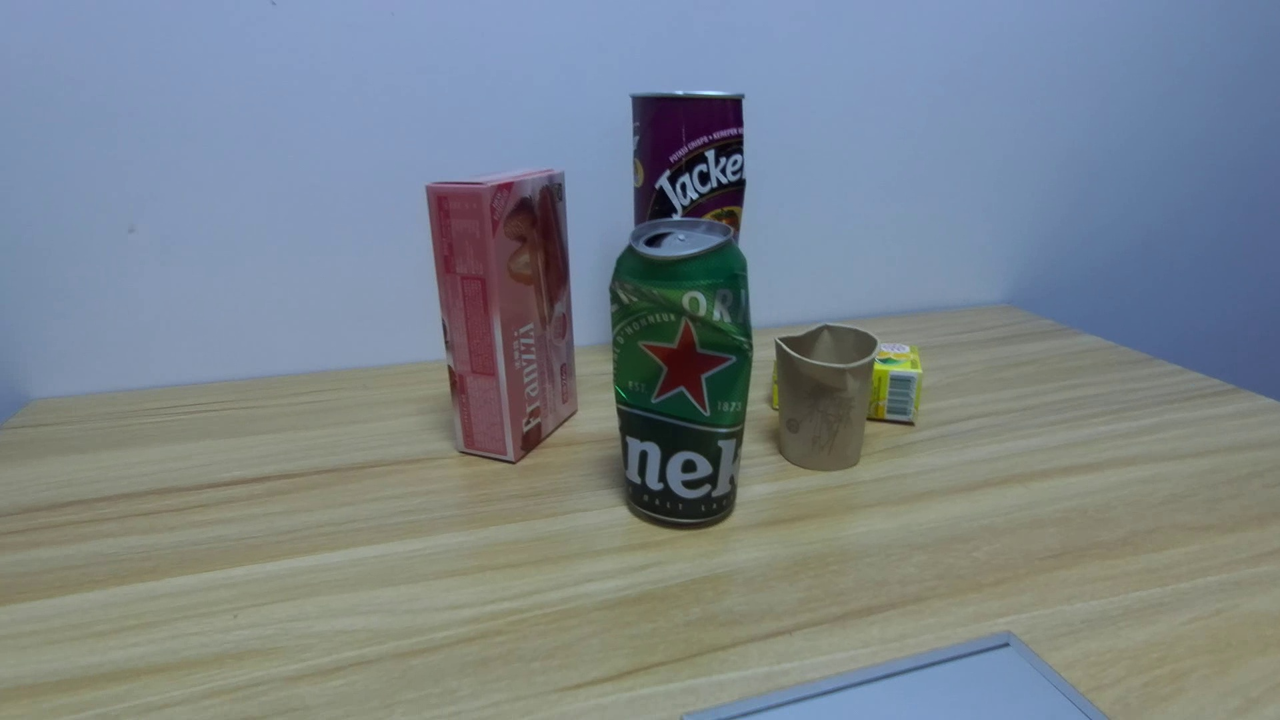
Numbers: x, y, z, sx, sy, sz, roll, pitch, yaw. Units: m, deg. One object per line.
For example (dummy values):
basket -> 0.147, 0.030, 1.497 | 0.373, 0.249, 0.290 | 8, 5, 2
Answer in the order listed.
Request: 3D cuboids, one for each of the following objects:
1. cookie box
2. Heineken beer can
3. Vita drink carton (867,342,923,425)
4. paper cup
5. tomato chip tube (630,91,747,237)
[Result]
cookie box -> -0.089, -0.033, 0.493 | 0.048, 0.184, 0.096 | 6, 21, 22
Heineken beer can -> 0.024, 0.011, 0.398 | 0.069, 0.168, 0.068 | -8, 24, -15
Vita drink carton -> 0.162, 0.014, 0.560 | 0.108, 0.043, 0.067 | 6, 20, 15
paper cup -> 0.126, 0.026, 0.471 | 0.072, 0.084, 0.066 | -16, 25, -37
tomato chip tube -> 0.036, -0.089, 0.566 | 0.076, 0.235, 0.077 | -5, 17, -14
